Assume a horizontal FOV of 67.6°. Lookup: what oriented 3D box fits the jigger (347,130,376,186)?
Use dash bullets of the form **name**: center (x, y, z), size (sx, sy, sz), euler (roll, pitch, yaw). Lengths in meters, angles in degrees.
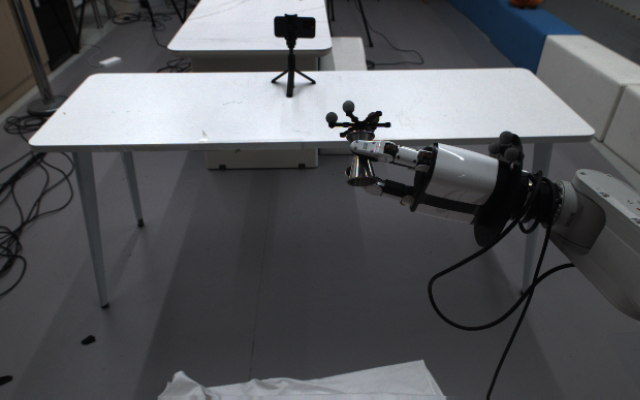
- **jigger**: center (0.057, -0.059, 0.668), size (0.043, 0.043, 0.071), euler (0, 75, -3)
